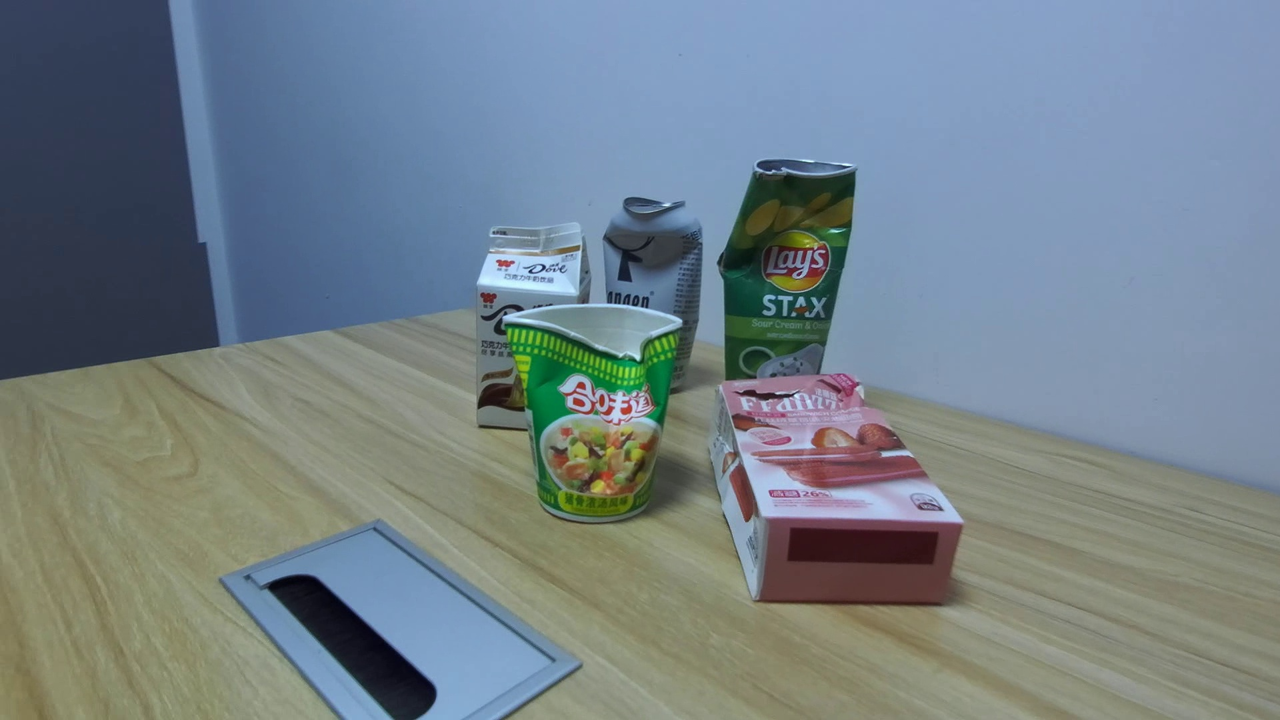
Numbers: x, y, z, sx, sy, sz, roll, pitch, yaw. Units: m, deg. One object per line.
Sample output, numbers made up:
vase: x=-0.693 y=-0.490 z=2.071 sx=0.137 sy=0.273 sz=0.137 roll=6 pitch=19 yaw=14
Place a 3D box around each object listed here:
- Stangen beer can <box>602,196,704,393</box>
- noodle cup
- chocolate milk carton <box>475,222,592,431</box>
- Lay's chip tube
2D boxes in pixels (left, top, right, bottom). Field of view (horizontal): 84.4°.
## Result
Stangen beer can: x=0.009 y=-0.055 z=0.609 sx=0.077 sy=0.162 sz=0.065 roll=-1 pitch=17 yaw=-13
noodle cup: x=-0.023 y=0.029 z=0.414 sx=0.082 sy=0.122 sz=0.075 roll=4 pitch=7 yaw=35
chocolate milk carton: x=-0.076 y=-0.029 z=0.531 sx=0.075 sy=0.148 sz=0.074 roll=5 pitch=19 yaw=5
Lay's chip tube: x=0.108 y=-0.049 z=0.538 sx=0.069 sy=0.201 sz=0.077 roll=19 pitch=25 yaw=42
